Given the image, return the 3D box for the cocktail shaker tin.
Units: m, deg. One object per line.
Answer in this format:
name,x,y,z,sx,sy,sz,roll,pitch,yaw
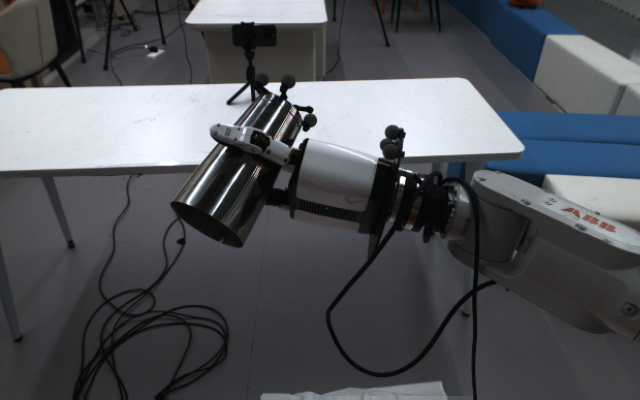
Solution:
cocktail shaker tin,-0.085,-0.043,0.565,0.093,0.093,0.170,18,66,21
